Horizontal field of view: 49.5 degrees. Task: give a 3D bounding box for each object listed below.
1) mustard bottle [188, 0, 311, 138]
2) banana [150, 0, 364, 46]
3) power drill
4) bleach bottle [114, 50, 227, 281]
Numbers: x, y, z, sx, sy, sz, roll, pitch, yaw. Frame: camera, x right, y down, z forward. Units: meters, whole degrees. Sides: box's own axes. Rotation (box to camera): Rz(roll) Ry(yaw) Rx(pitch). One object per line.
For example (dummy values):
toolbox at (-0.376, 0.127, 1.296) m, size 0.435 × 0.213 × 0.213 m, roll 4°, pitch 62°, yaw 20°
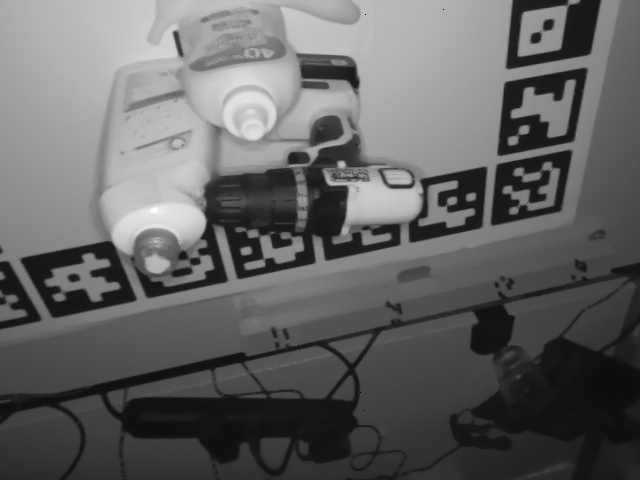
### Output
mustard bottle at (-0.058, -0.139, 0.572) m, size 0.096 × 0.192 × 0.058 m, roll -9°, pitch 129°, yaw -5°
banana at (-0.056, -0.218, 0.622) m, size 0.199 × 0.039 × 0.073 m, roll -8°, pitch 128°, yaw -11°
power drill at (-0.009, -0.079, 0.605) m, size 0.186 × 0.188 × 0.056 m, roll 0°, pitch 129°, yaw -12°
bleach bottle at (-0.118, -0.067, 0.581) m, size 0.103 × 0.252 × 0.067 m, roll -8°, pitch 135°, yaw -7°
